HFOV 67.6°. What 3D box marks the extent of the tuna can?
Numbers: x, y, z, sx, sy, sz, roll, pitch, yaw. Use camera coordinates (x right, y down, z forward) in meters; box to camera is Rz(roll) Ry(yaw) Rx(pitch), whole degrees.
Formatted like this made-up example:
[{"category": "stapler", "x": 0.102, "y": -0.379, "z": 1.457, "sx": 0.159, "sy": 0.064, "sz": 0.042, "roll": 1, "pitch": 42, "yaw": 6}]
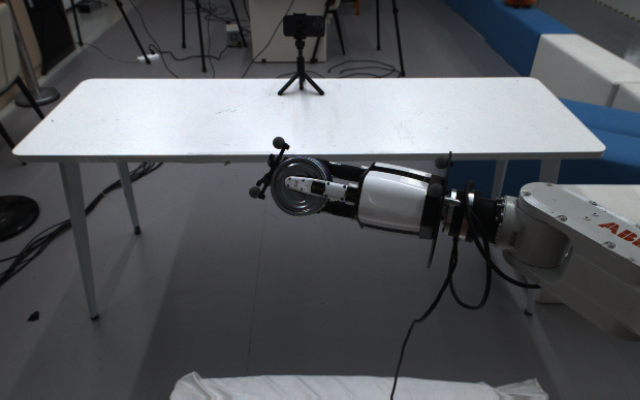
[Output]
[{"category": "tuna can", "x": -0.023, "y": -0.017, "z": 0.686, "sx": 0.085, "sy": 0.085, "sz": 0.034, "roll": 9, "pitch": 5, "yaw": 9}]
